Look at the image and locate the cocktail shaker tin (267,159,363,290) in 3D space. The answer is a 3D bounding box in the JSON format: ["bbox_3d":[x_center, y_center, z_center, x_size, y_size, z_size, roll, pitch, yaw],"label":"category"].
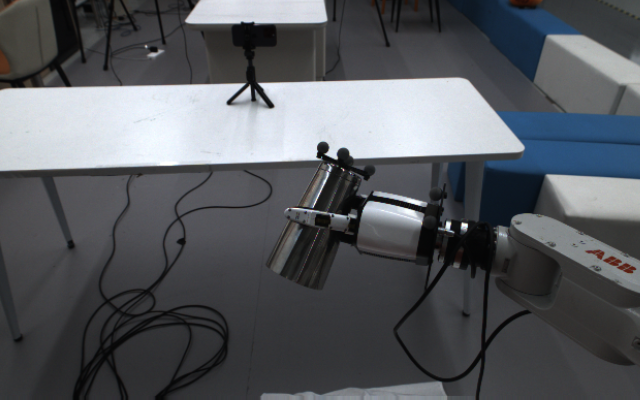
[{"bbox_3d":[-0.002,0.031,0.707,0.093,0.170,0.093,23,0,0],"label":"cocktail shaker tin"}]
